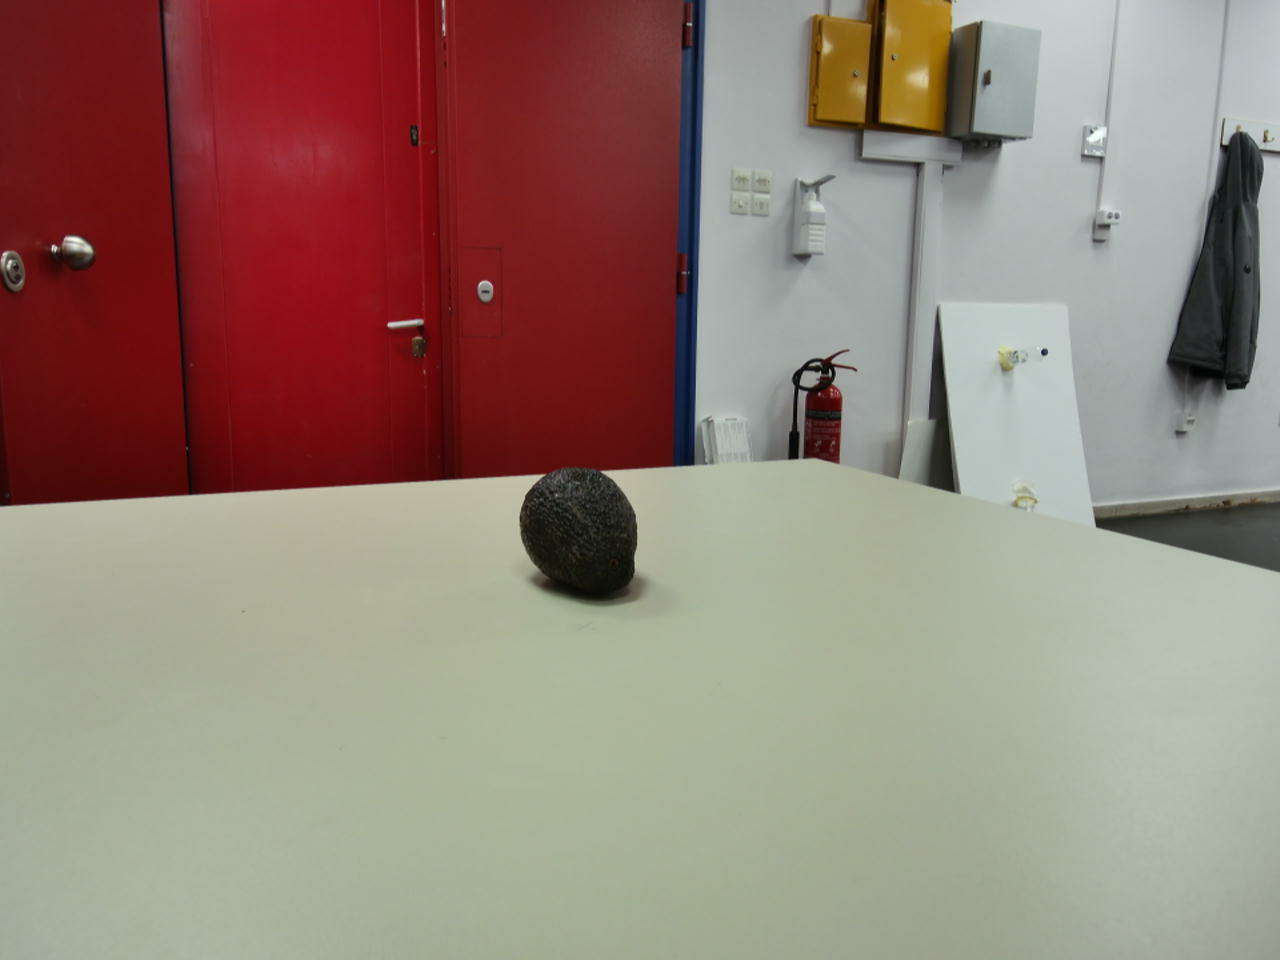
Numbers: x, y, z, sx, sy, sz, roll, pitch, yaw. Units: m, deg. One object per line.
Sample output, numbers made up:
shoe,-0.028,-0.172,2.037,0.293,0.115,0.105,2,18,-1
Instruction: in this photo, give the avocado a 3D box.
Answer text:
avocado,-0.037,0.028,0.589,0.070,0.069,0.090,1,8,1
